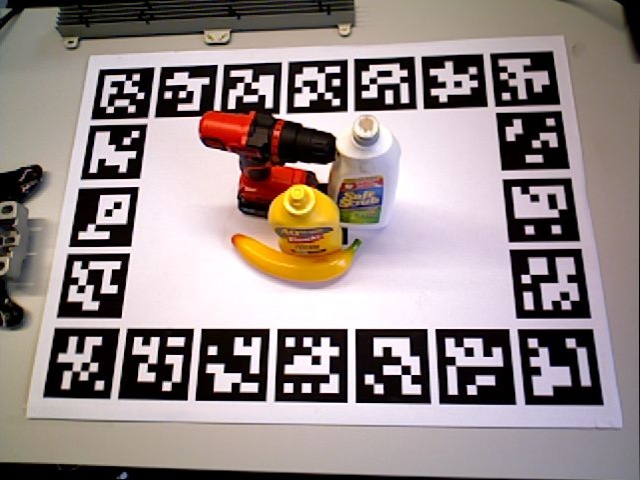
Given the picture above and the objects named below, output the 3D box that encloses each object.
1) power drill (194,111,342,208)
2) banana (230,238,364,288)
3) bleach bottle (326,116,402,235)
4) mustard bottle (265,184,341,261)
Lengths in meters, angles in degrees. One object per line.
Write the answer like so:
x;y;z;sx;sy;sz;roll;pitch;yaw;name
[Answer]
-0.060;-0.100;0.715;0.184;0.189;0.057;12;72;7;power drill
-0.037;0.031;0.786;0.197;0.039;0.074;4;74;9;banana
0.049;-0.088;0.697;0.102;0.254;0.067;3;66;5;bleach bottle
-0.021;-0.025;0.711;0.096;0.193;0.058;1;72;4;mustard bottle
